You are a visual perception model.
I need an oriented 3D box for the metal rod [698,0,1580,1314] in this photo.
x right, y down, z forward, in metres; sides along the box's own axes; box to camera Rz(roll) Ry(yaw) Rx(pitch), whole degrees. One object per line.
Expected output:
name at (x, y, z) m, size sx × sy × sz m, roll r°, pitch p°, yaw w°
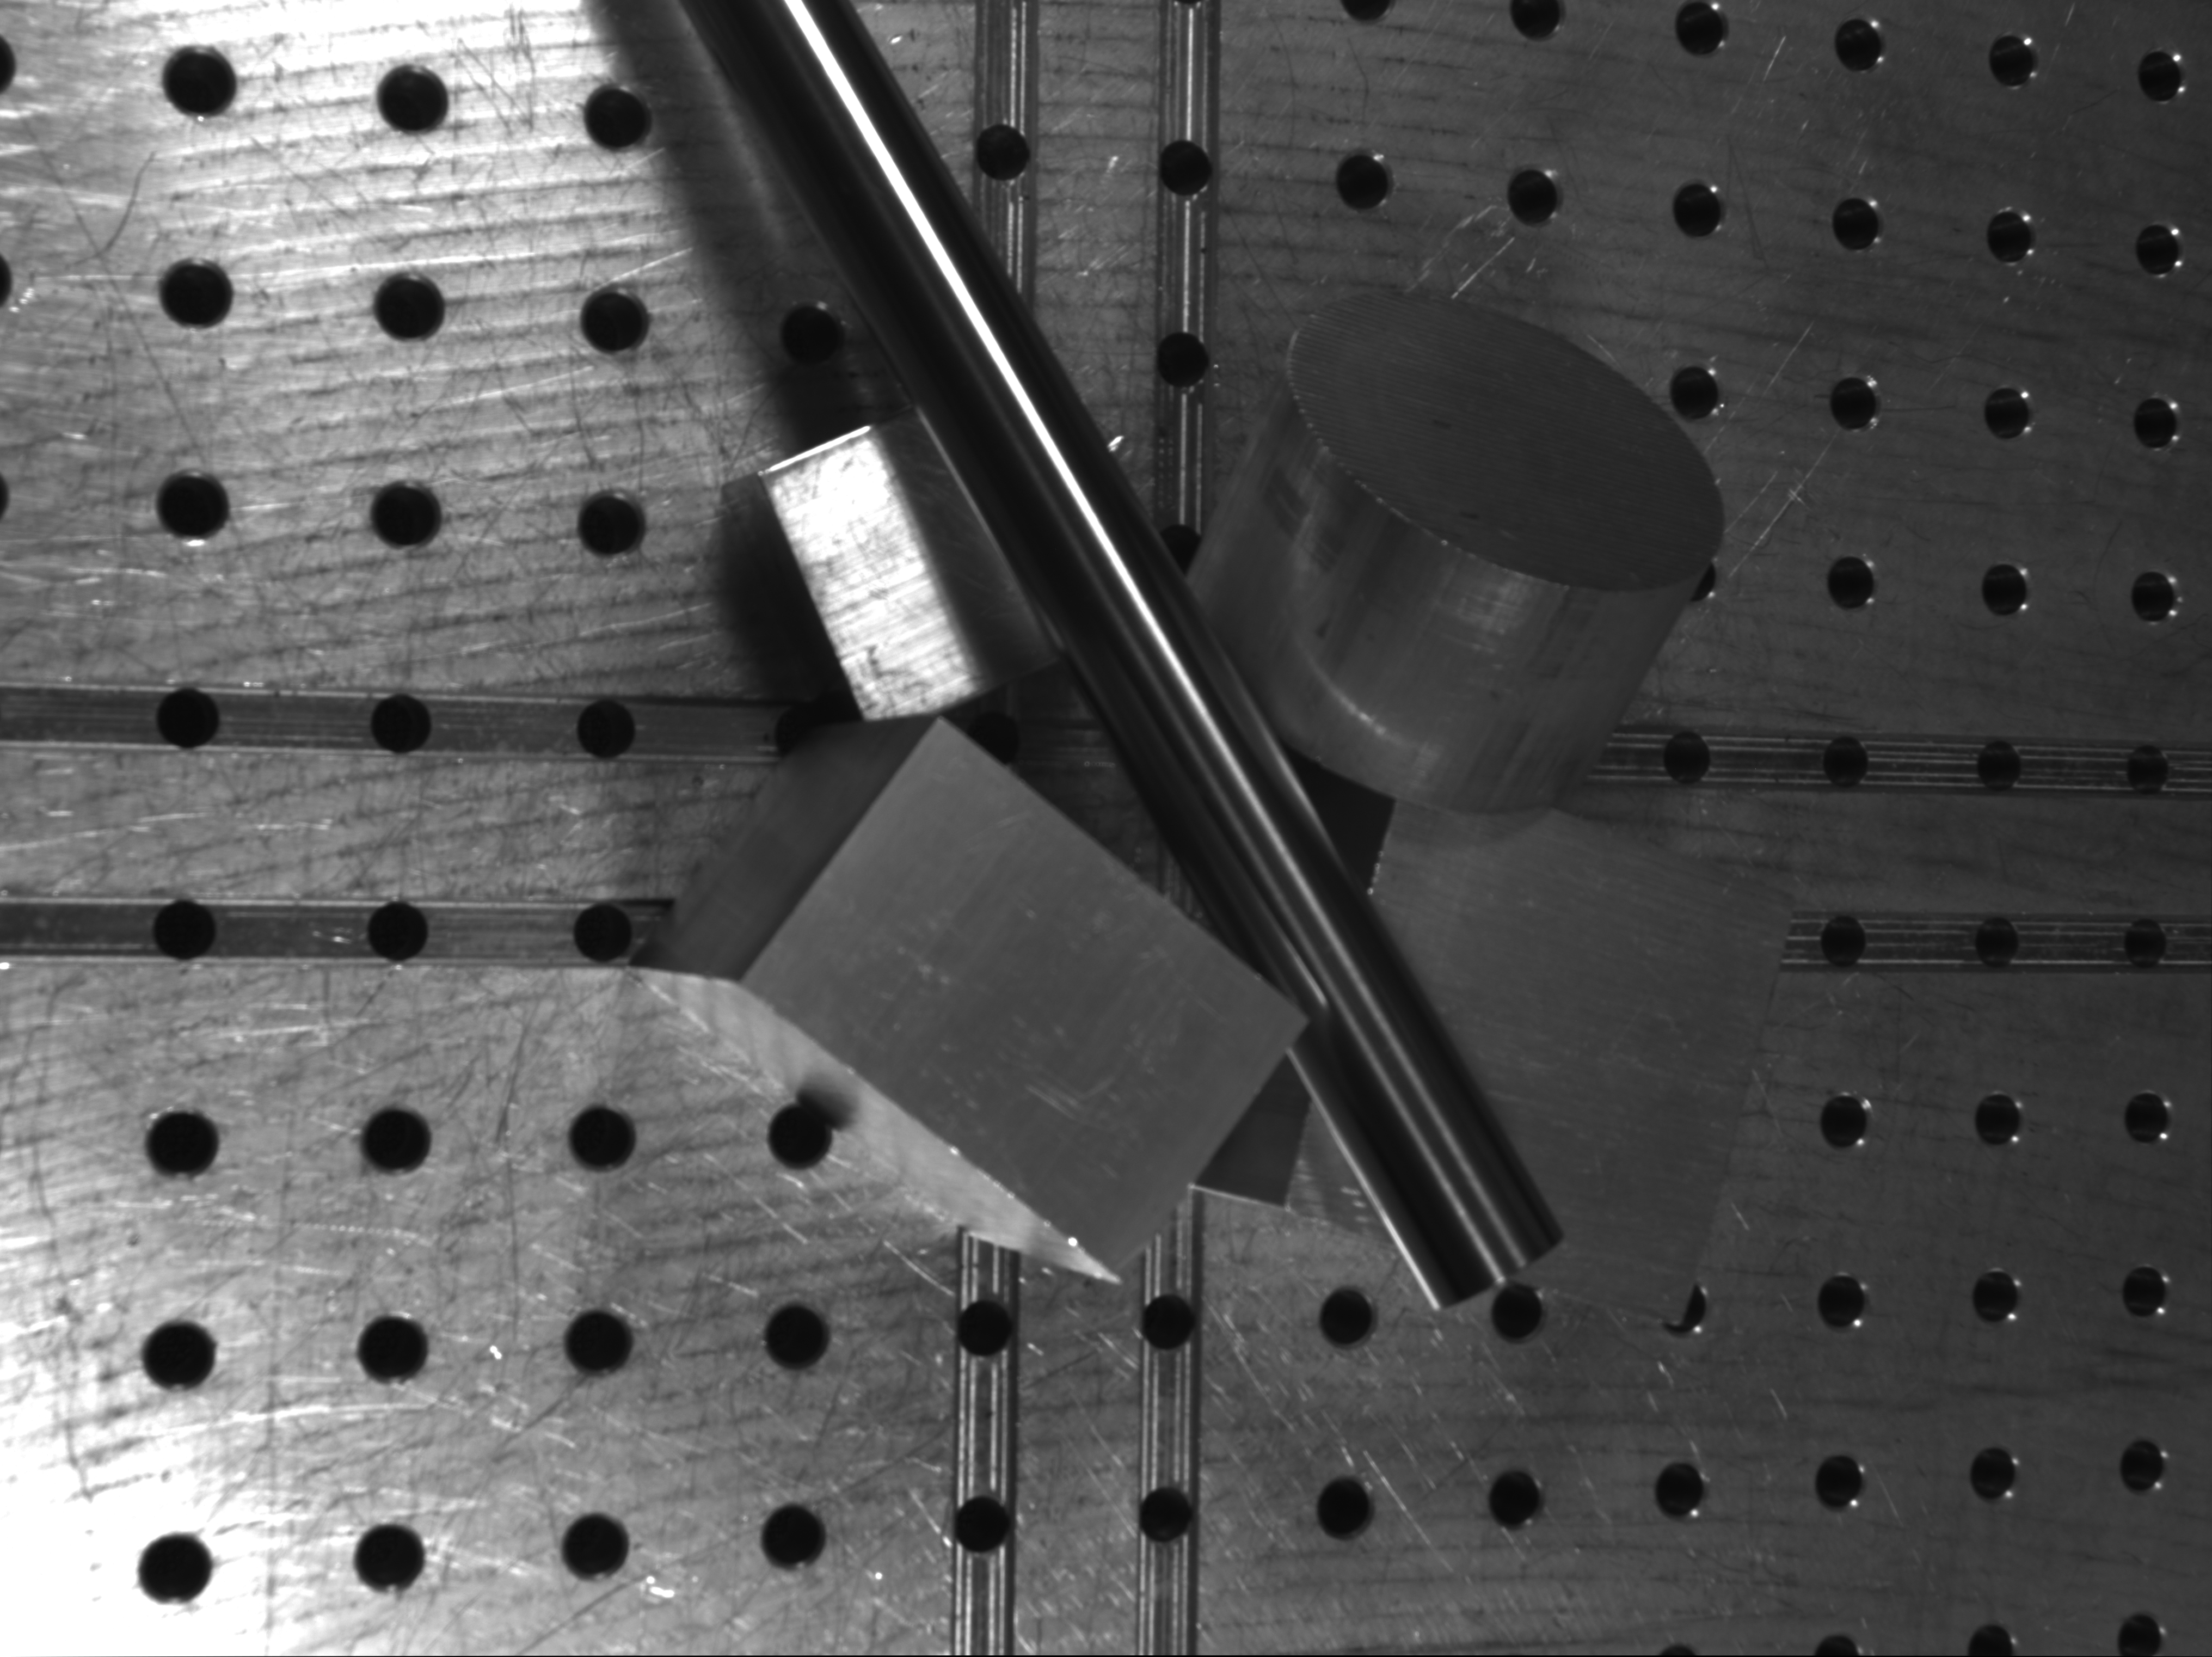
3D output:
metal rod at (-0.007, -0.056, 0.611) m, size 0.025 × 0.025 × 0.300 m, roll -29°, pitch 88°, yaw -18°

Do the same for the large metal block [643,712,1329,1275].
large metal block at (-0.022, 0.026, 0.608) m, size 0.080 × 0.080 × 0.050 m, roll 39°, pitch 78°, yaw -16°

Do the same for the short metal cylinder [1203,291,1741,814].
short metal cylinder at (0.062, -0.048, 0.632) m, size 0.080 × 0.080 × 0.050 m, roll 9°, pitch 130°, yaw -20°

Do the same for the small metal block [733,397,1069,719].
small metal block at (-0.030, -0.047, 0.636) m, size 0.050 × 0.025 × 0.050 m, roll -25°, pitch 98°, yaw -18°

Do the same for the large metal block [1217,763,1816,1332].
large metal block at (0.071, 0.038, 0.657) m, size 0.080 × 0.050 × 0.080 m, roll 19°, pitch 84°, yaw -19°
